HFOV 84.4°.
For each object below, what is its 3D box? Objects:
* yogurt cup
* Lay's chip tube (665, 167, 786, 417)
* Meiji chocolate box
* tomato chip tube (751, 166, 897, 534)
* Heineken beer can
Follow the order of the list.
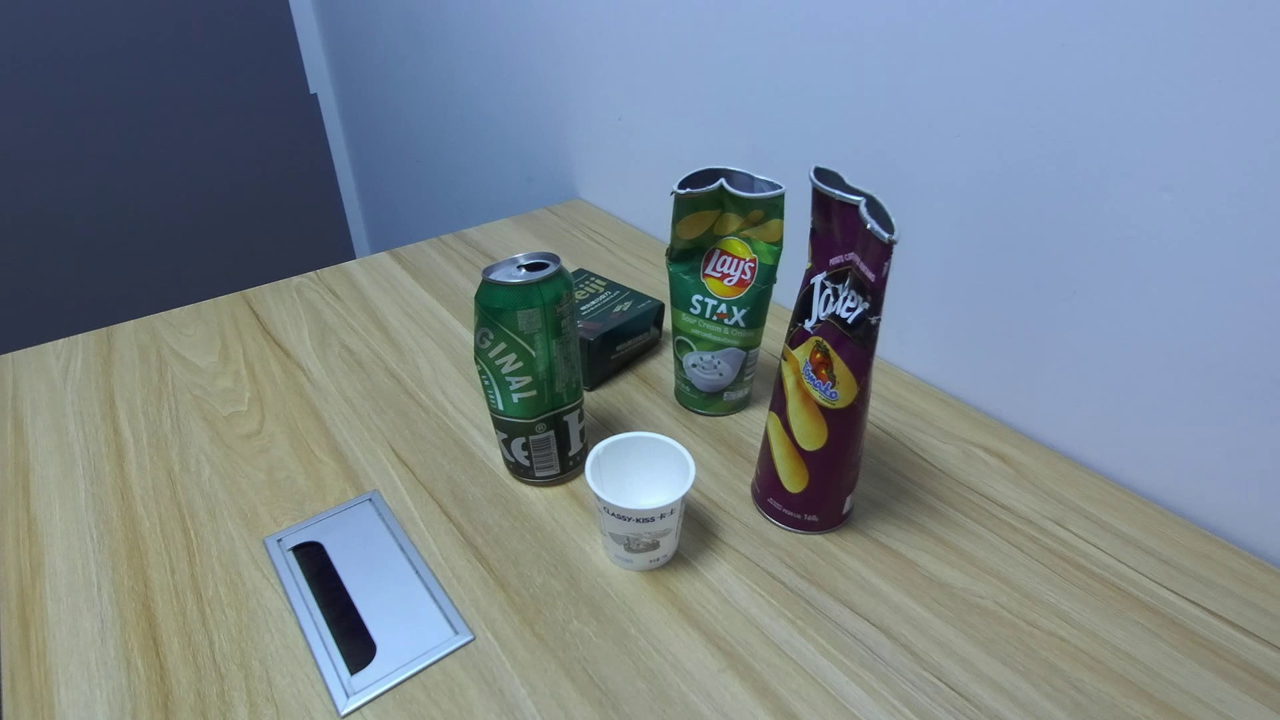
[{"bbox_3d":[0.001,0.096,0.466,0.072,0.068,0.072,-1,35,1],"label":"yogurt cup"},{"bbox_3d":[0.065,-0.052,0.568,0.077,0.201,0.069,-8,34,-7],"label":"Lay's chip tube"},{"bbox_3d":[-0.051,-0.034,0.674,0.122,0.058,0.116,24,39,30],"label":"Meiji chocolate box"},{"bbox_3d":[0.120,0.005,0.455,0.077,0.236,0.090,20,42,28],"label":"tomato chip tube"},{"bbox_3d":[-0.076,0.009,0.513,0.068,0.168,0.069,-2,30,3],"label":"Heineken beer can"}]
